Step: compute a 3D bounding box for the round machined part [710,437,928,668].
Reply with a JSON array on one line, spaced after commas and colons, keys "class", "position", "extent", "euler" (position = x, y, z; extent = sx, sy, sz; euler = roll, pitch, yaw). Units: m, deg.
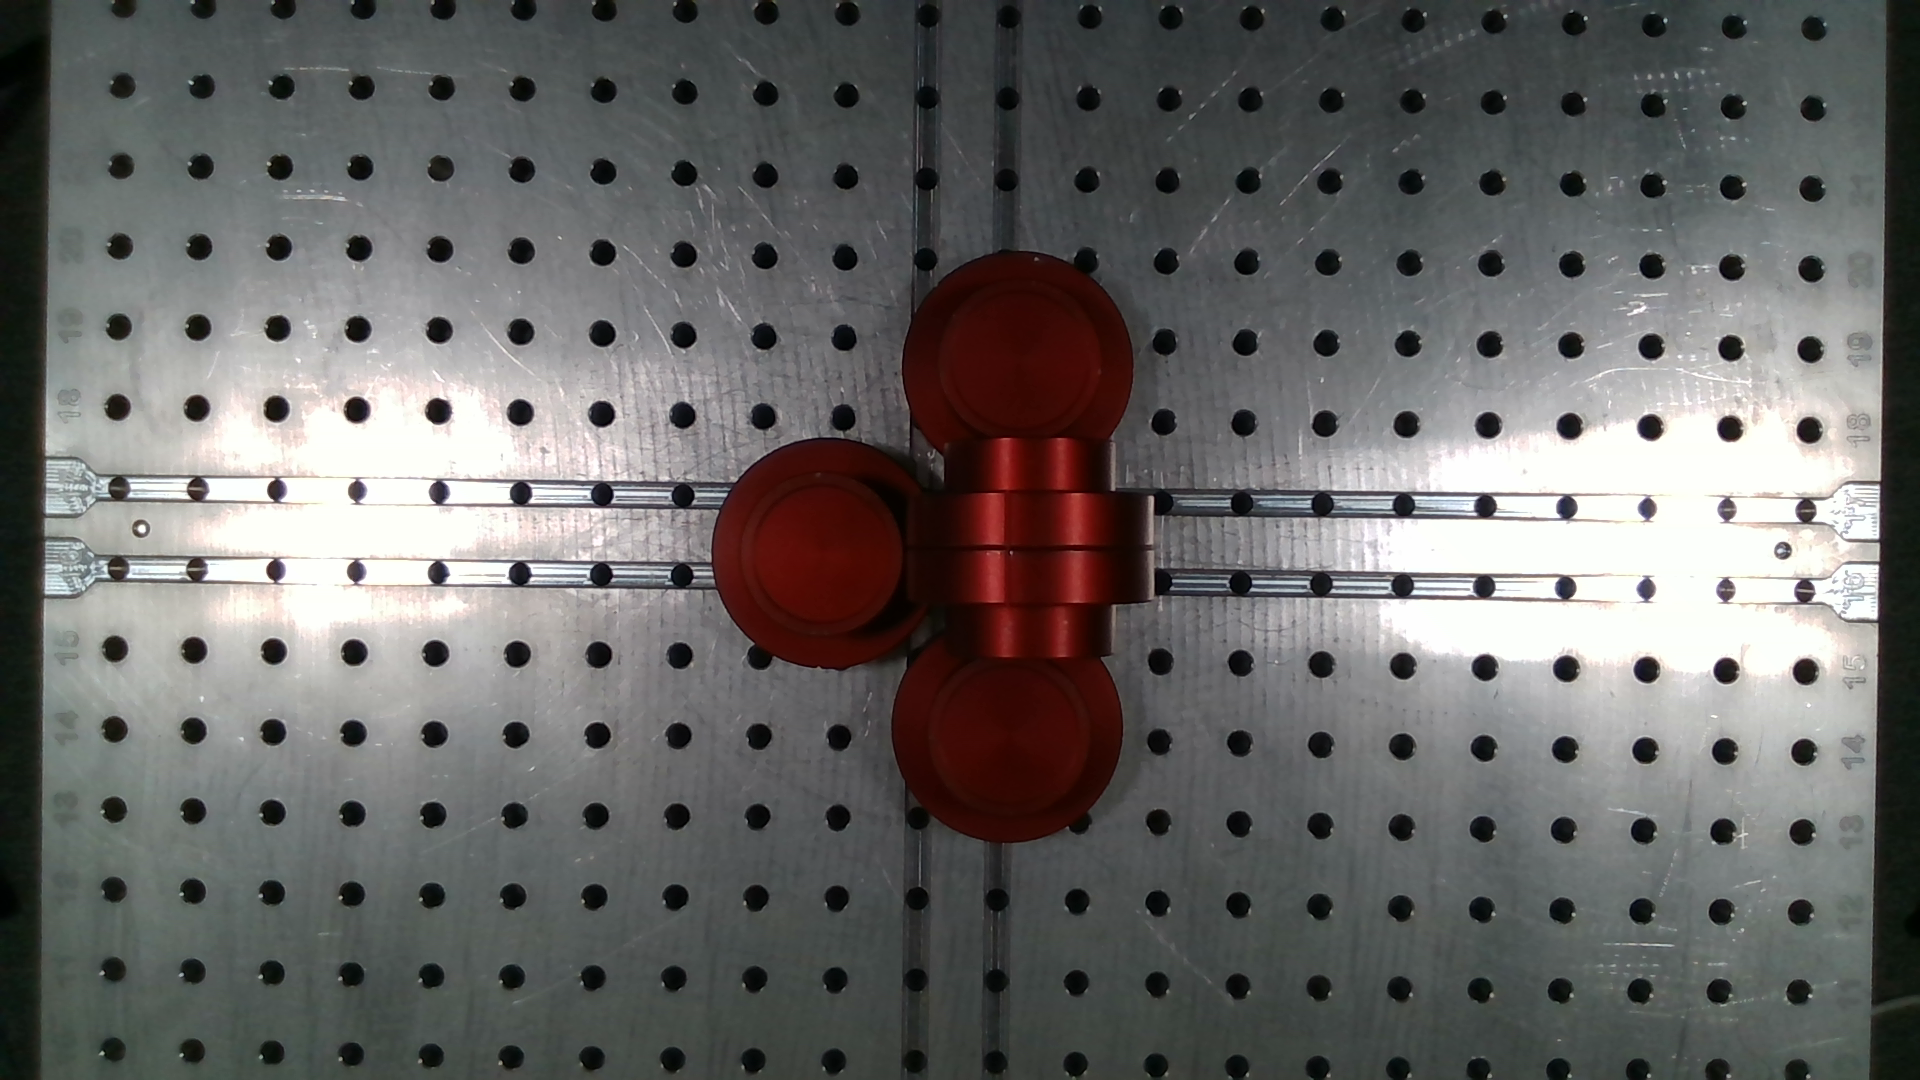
[{"class": "round machined part", "position": [-0.057, 0.005, 0.581], "extent": [0.098, 0.042, 0.098], "euler": [0, 90, 0]}]

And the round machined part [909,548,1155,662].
[{"class": "round machined part", "position": [0.029, 0.025, 0.548], "extent": [0.098, 0.098, 0.042], "euler": [-1, 90, 0]}]

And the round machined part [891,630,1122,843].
[{"class": "round machined part", "position": [0.020, 0.079, 0.581], "extent": [0.098, 0.042, 0.098], "euler": [0, 90, 0]}]

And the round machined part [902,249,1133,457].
[{"class": "round machined part", "position": [0.024, -0.074, 0.580], "extent": [0.098, 0.042, 0.098], "euler": [0, 90, 0]}]

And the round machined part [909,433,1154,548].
[{"class": "round machined part", "position": [0.028, -0.019, 0.546], "extent": [0.098, 0.098, 0.042], "euler": [1, 90, 0]}]
